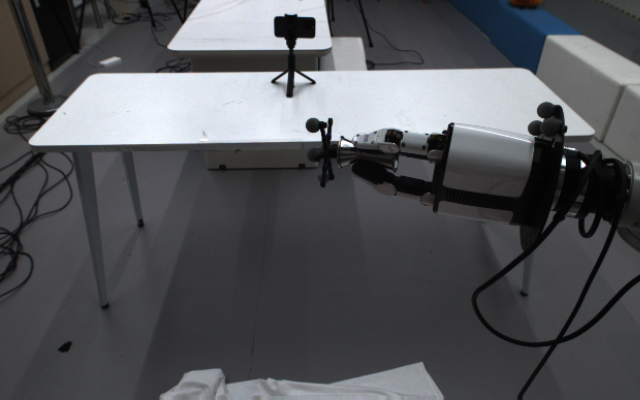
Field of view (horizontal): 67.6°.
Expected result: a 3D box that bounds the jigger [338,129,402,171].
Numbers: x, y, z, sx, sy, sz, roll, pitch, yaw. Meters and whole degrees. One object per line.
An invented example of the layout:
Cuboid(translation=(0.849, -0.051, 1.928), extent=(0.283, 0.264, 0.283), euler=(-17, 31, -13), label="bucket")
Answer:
Cuboid(translation=(0.065, -0.060, 0.580), extent=(0.071, 0.043, 0.043), euler=(2, 34, 15), label="jigger")
